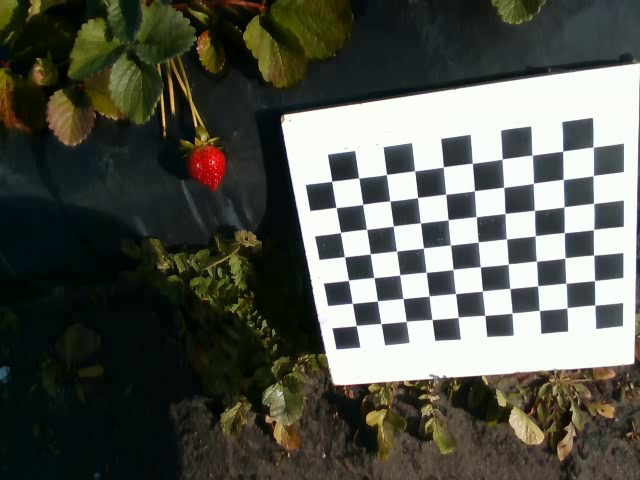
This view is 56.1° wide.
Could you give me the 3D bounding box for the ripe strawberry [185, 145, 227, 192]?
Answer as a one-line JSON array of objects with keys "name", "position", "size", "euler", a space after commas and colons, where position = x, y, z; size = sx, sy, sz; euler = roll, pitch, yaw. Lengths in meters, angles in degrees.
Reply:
[{"name": "ripe strawberry", "position": [-0.095, -0.058, 0.509], "size": [0.040, 0.044, 0.036], "euler": [-25, 4, 17]}]
